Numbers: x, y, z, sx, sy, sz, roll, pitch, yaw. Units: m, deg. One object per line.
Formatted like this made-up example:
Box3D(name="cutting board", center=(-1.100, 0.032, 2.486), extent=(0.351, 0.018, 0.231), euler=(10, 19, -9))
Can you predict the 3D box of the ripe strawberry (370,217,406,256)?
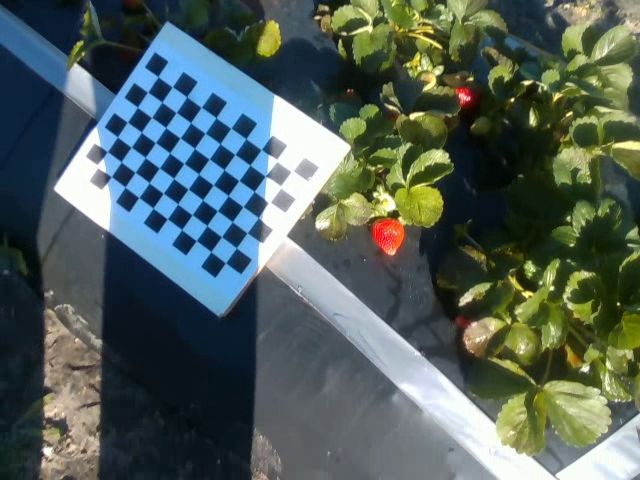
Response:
Box3D(name="ripe strawberry", center=(0.085, -0.001, 0.842), extent=(0.048, 0.055, 0.029), euler=(-10, -9, 12))
